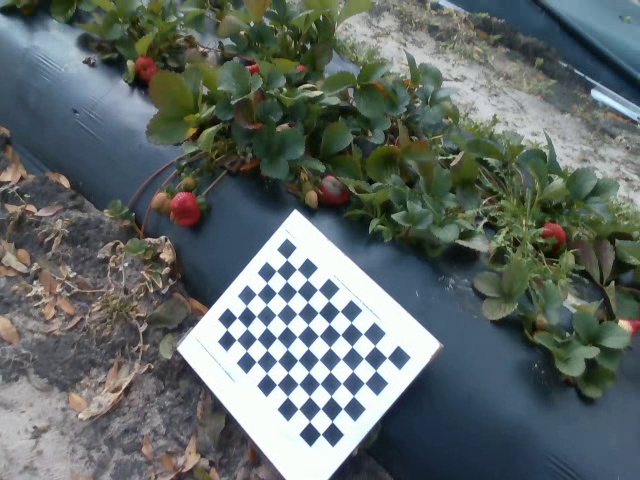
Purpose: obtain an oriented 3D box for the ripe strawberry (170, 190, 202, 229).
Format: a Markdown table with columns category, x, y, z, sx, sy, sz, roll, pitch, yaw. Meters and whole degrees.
| category | x | y | z | sx | sy | sz | roll | pitch | yaw |
| --- | --- | --- | --- | --- | --- | --- | --- | --- | --- |
| ripe strawberry | -0.244 | -0.055 | 0.967 | 0.066 | 0.075 | 0.052 | 23 | -4 | 19 |
